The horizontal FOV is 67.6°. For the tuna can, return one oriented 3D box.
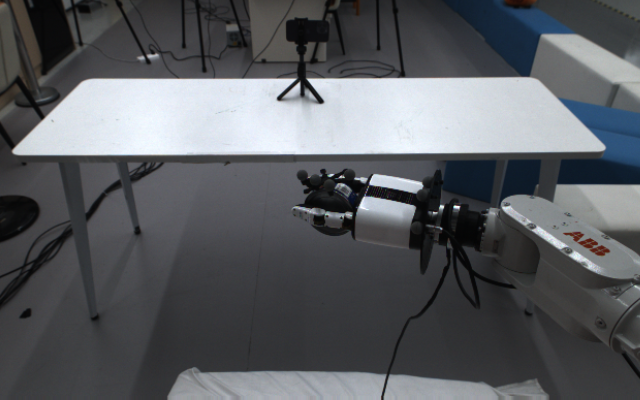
[{"bbox_3d":[0.021,0.013,0.766,0.085,0.085,0.034,14,34,17],"label":"tuna can"}]
